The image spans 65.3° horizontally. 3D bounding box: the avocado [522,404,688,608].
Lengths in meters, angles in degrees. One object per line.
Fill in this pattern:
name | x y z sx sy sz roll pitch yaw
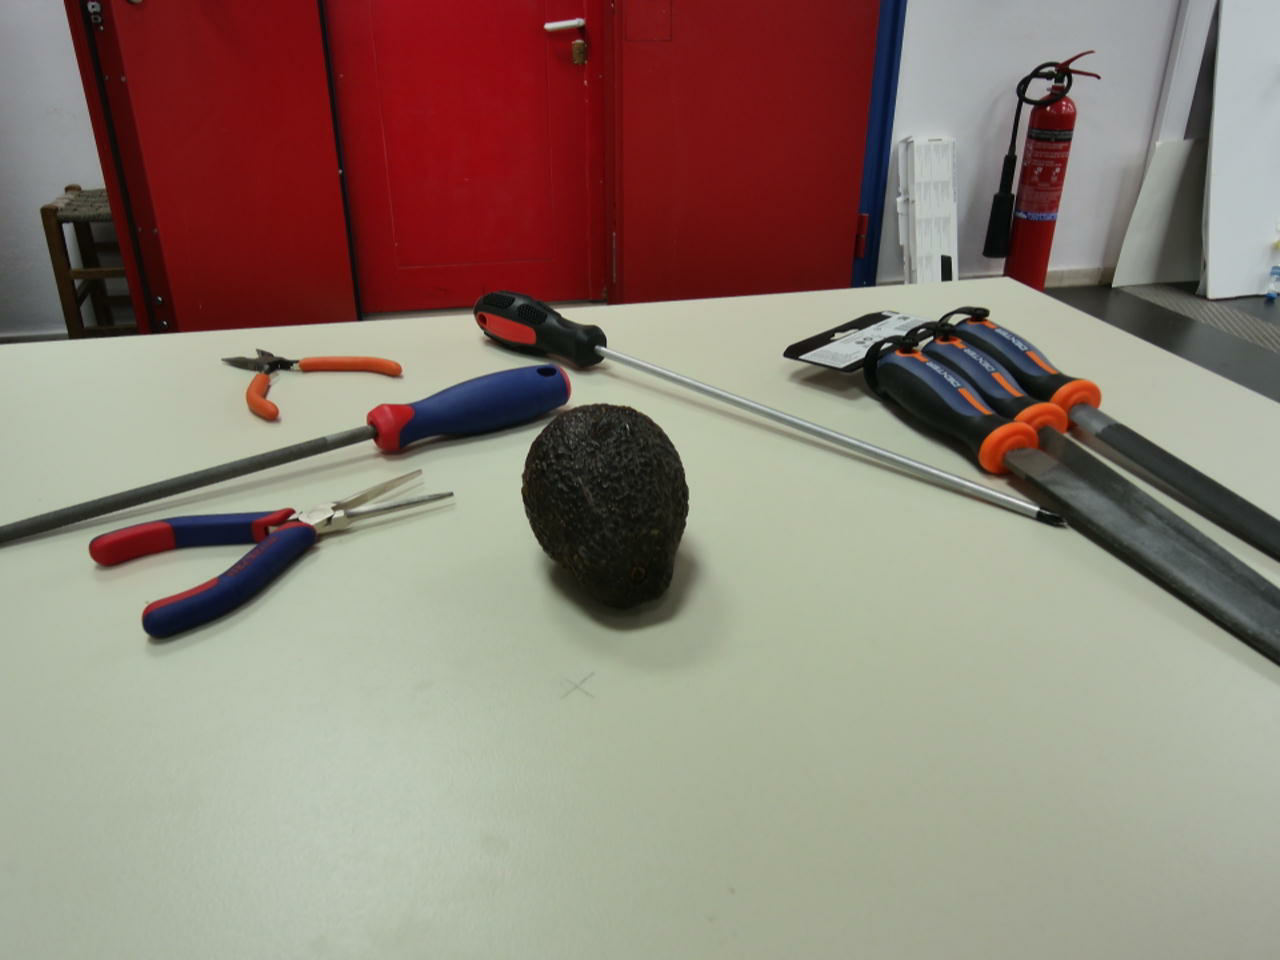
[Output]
avocado | -0.016 0.006 0.414 0.070 0.069 0.090 3 25 11
